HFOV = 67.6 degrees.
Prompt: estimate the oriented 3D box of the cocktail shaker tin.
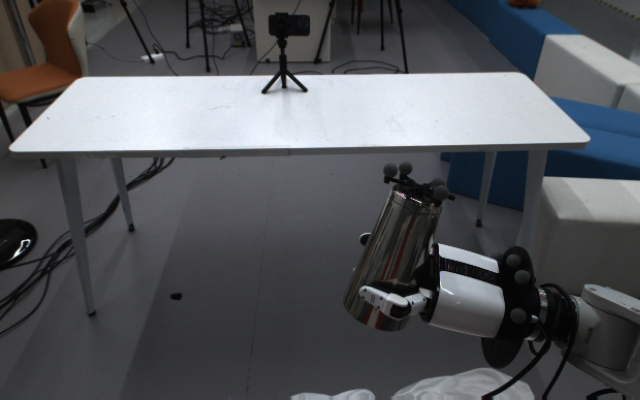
[{"bbox_3d":[0.098,0.069,0.619,0.093,0.170,0.093,14,20,-5],"label":"cocktail shaker tin"}]
